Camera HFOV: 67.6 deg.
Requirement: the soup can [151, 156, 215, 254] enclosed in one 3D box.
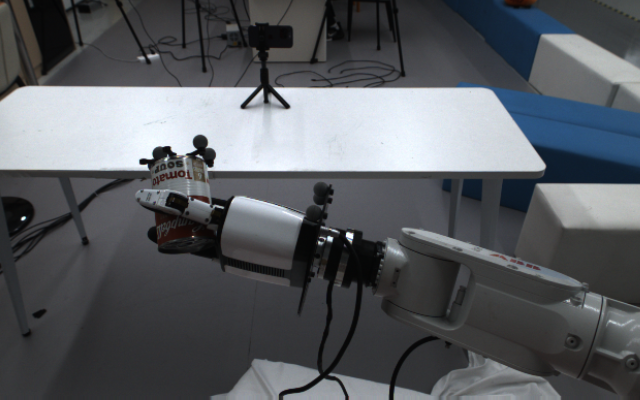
[{"bbox_3d":[-0.160,0.007,0.572,0.067,0.067,0.101,-8,73,-14],"label":"soup can"}]
